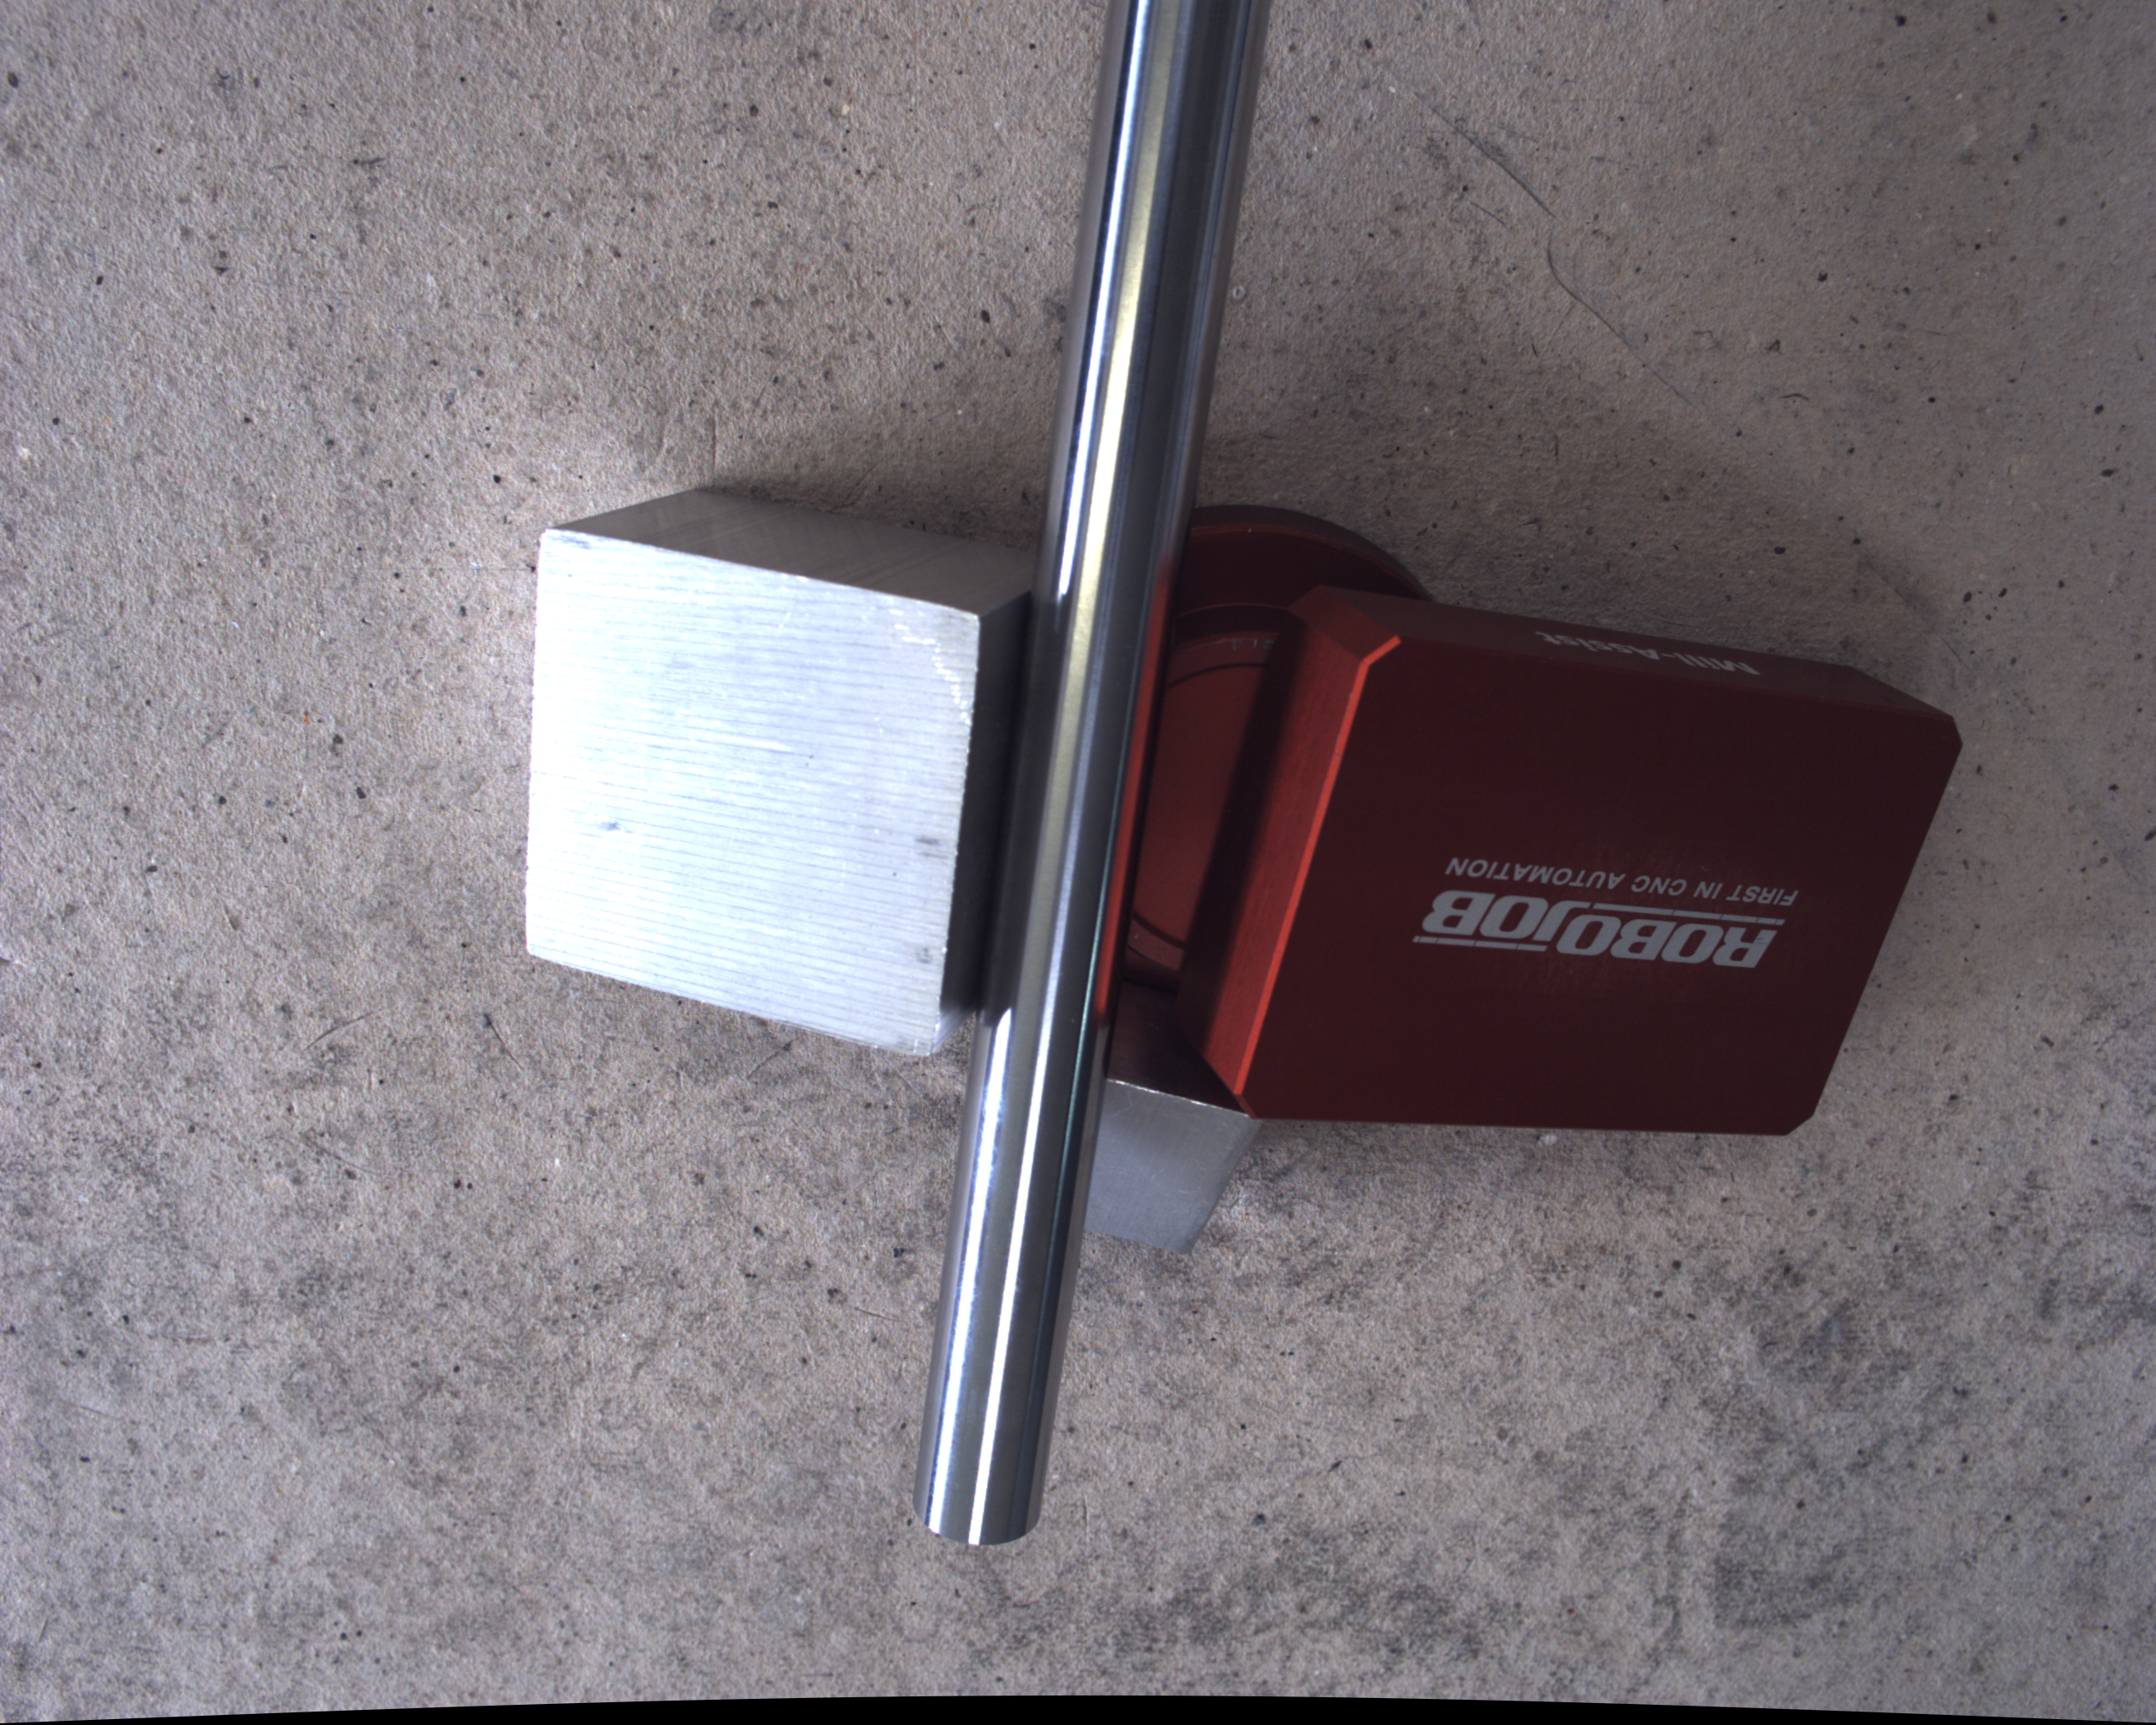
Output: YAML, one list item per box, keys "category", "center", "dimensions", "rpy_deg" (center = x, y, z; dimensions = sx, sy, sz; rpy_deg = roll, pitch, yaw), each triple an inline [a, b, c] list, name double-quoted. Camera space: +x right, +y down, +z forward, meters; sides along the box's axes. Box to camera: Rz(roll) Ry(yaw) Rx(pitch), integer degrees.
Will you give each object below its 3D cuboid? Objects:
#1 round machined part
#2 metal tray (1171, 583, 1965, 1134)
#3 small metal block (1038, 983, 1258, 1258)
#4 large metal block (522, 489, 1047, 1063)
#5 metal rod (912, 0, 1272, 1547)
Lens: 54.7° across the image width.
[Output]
- category: "round machined part"
  center: [0.031, -0.015, 0.396]
  dimensions: [0.099, 0.042, 0.097]
  rpy_deg: [0, 110, 0]
- category: "metal tray"
  center: [0.091, 0.003, 0.387]
  dimensions: [0.131, 0.030, 0.089]
  rpy_deg: [5, 112, -24]
- category: "small metal block"
  center: [0.006, 0.050, 0.419]
  dimensions: [0.050, 0.025, 0.050]
  rpy_deg: [15, 135, -5]
- category: "large metal block"
  center: [-0.050, -0.018, 0.379]
  dimensions: [0.080, 0.050, 0.079]
  rpy_deg: [13, 111, 14]
- category: "metal rod"
  center: [0.000, -0.015, 0.361]
  dimensions: [0.025, 0.025, 0.298]
  rpy_deg: [7, 108, -3]
